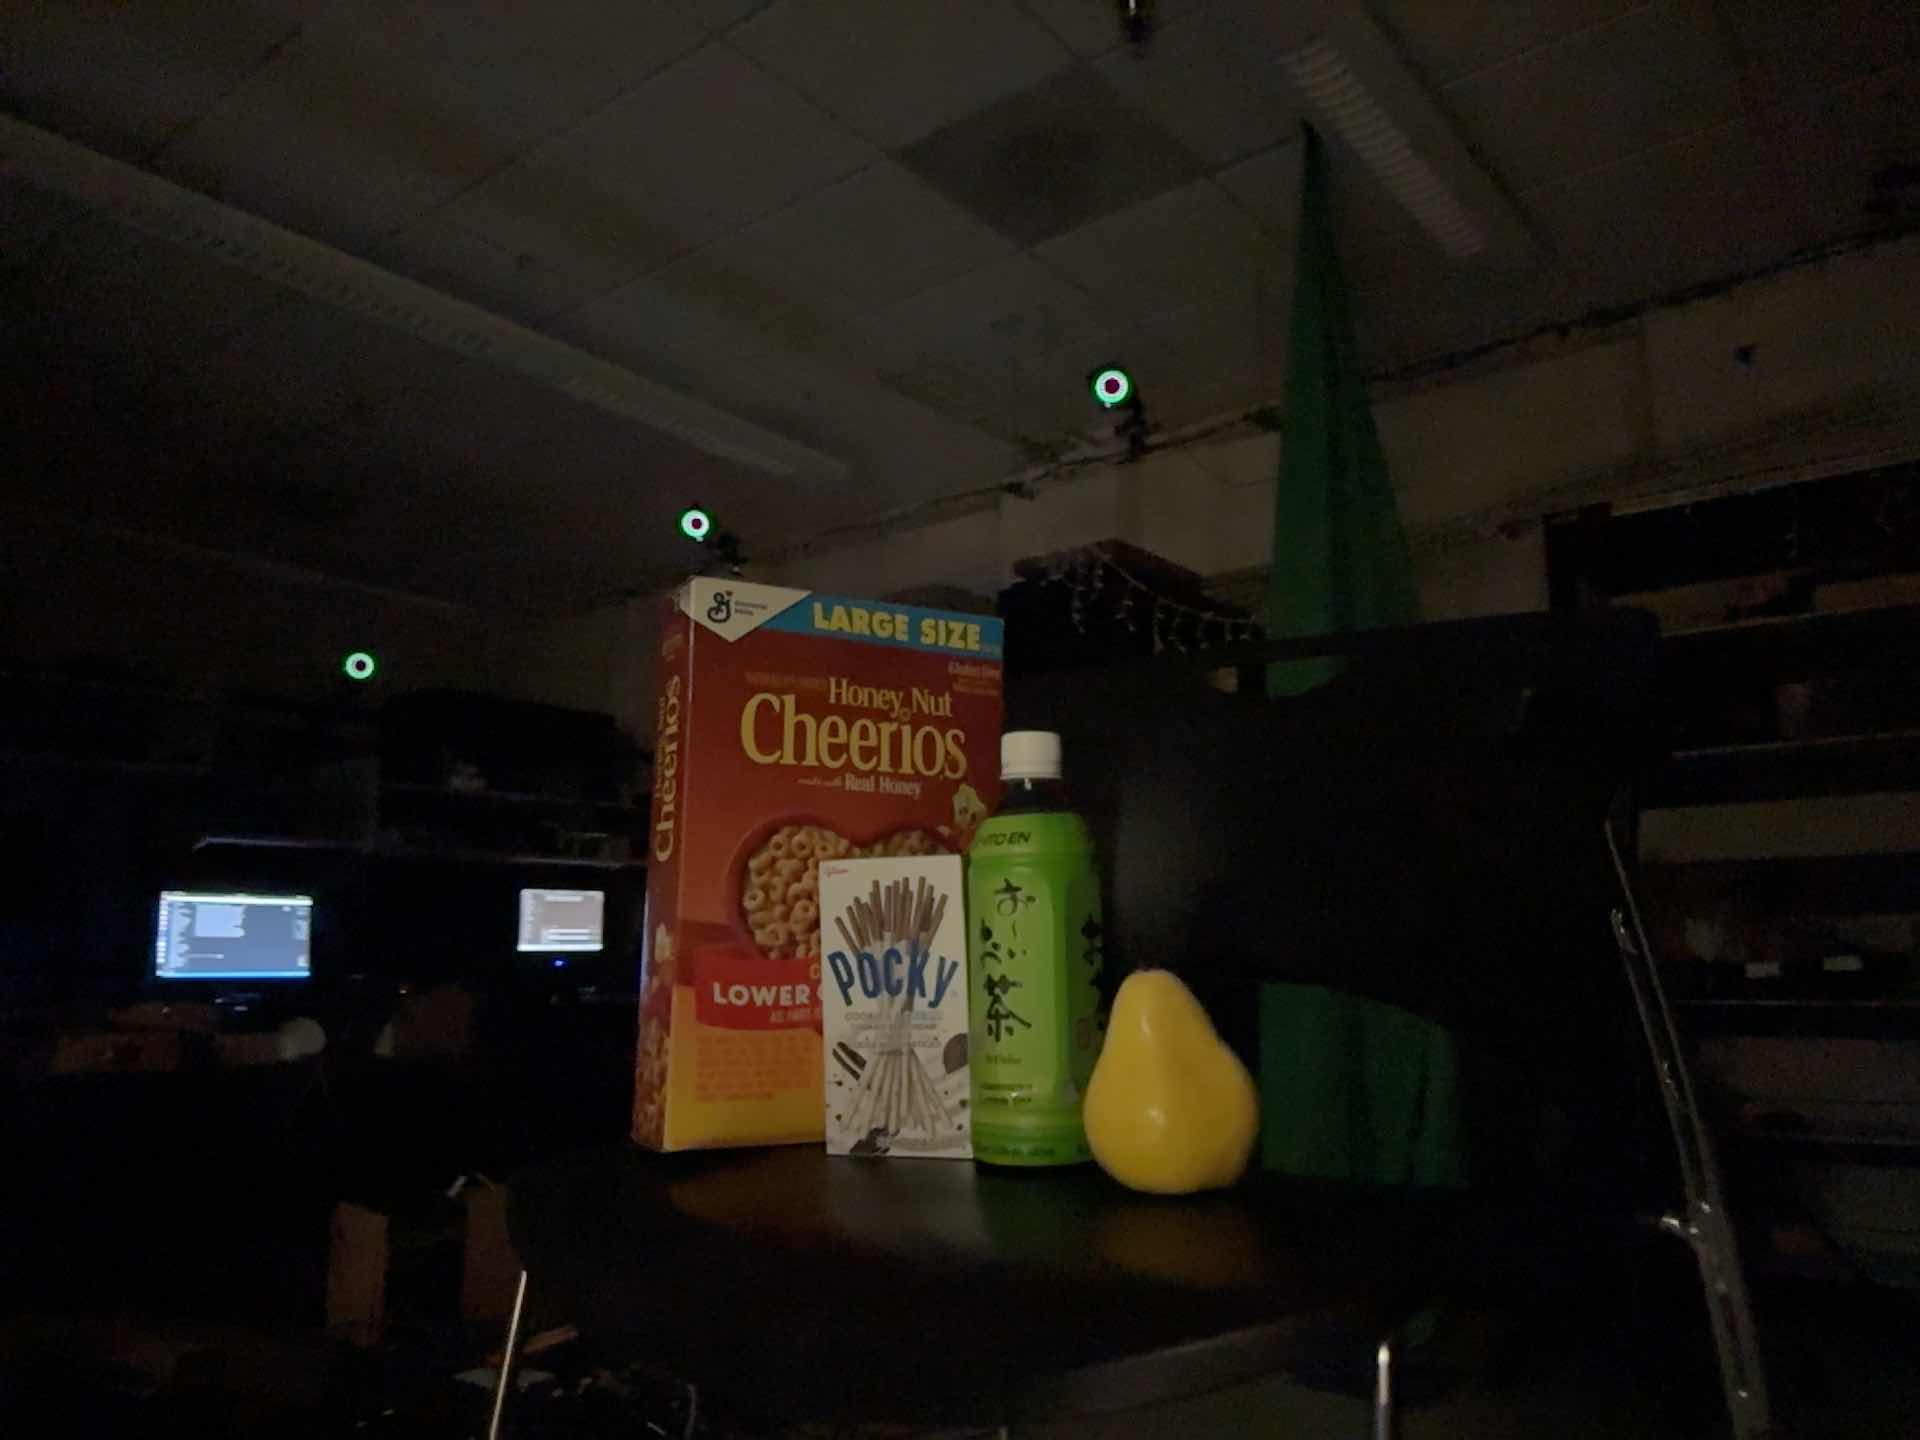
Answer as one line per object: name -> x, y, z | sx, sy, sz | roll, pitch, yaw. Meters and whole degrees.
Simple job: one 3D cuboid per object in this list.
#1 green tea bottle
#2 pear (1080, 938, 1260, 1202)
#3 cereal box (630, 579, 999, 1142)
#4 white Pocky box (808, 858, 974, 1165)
green tea bottle -> 0.037, 0.115, 0.682 | 0.073, 0.212, 0.073 | -3, -9, -1
pear -> 0.092, 0.155, 0.605 | 0.080, 0.111, 0.080 | 0, -13, 0
cereal box -> -0.080, 0.081, 0.794 | 0.195, 0.297, 0.065 | 6, -10, -30
white Pocky box -> -0.035, 0.151, 0.708 | 0.084, 0.154, 0.028 | -4, -3, 20
